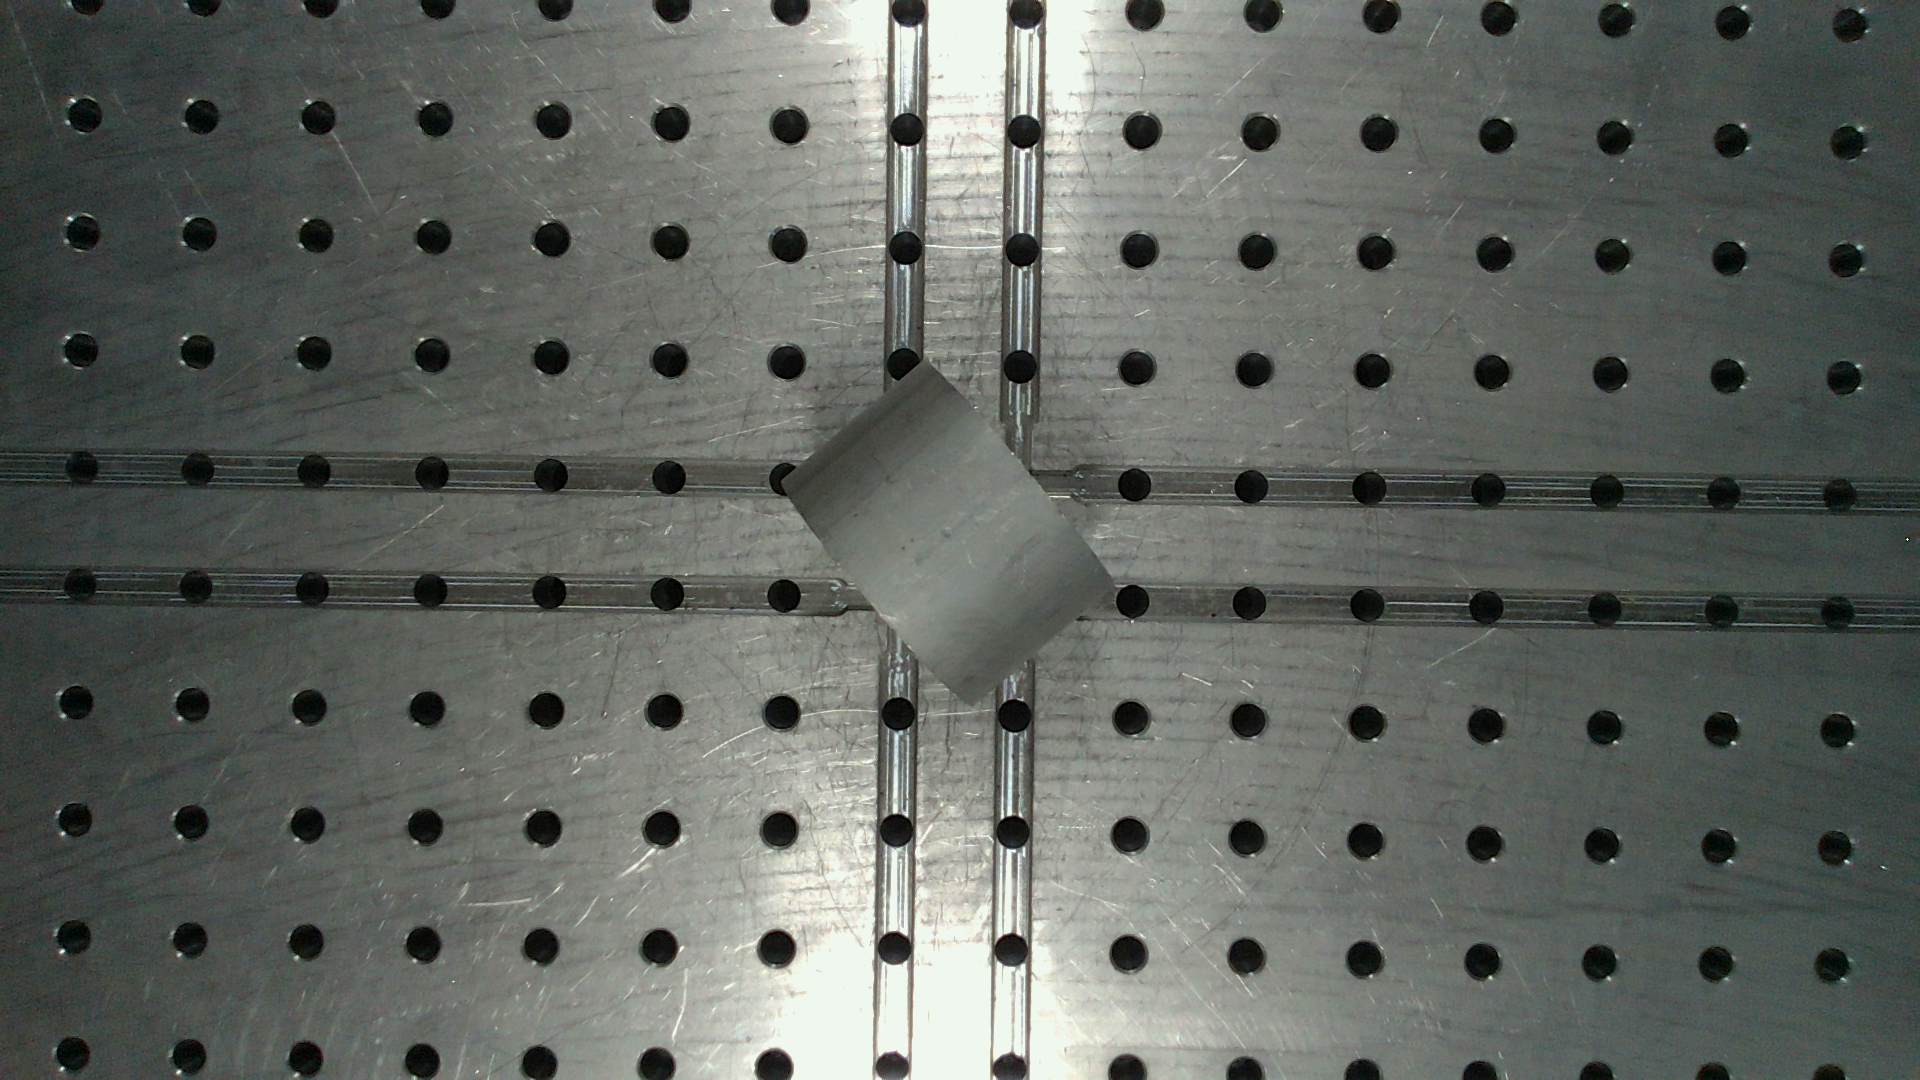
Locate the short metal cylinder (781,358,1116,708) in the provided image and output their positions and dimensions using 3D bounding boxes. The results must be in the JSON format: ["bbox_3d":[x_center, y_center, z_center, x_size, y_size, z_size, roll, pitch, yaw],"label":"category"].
[{"bbox_3d":[-0.003,-0.002,0.370,0.050,0.080,0.080,-40,90,0],"label":"short metal cylinder"}]
